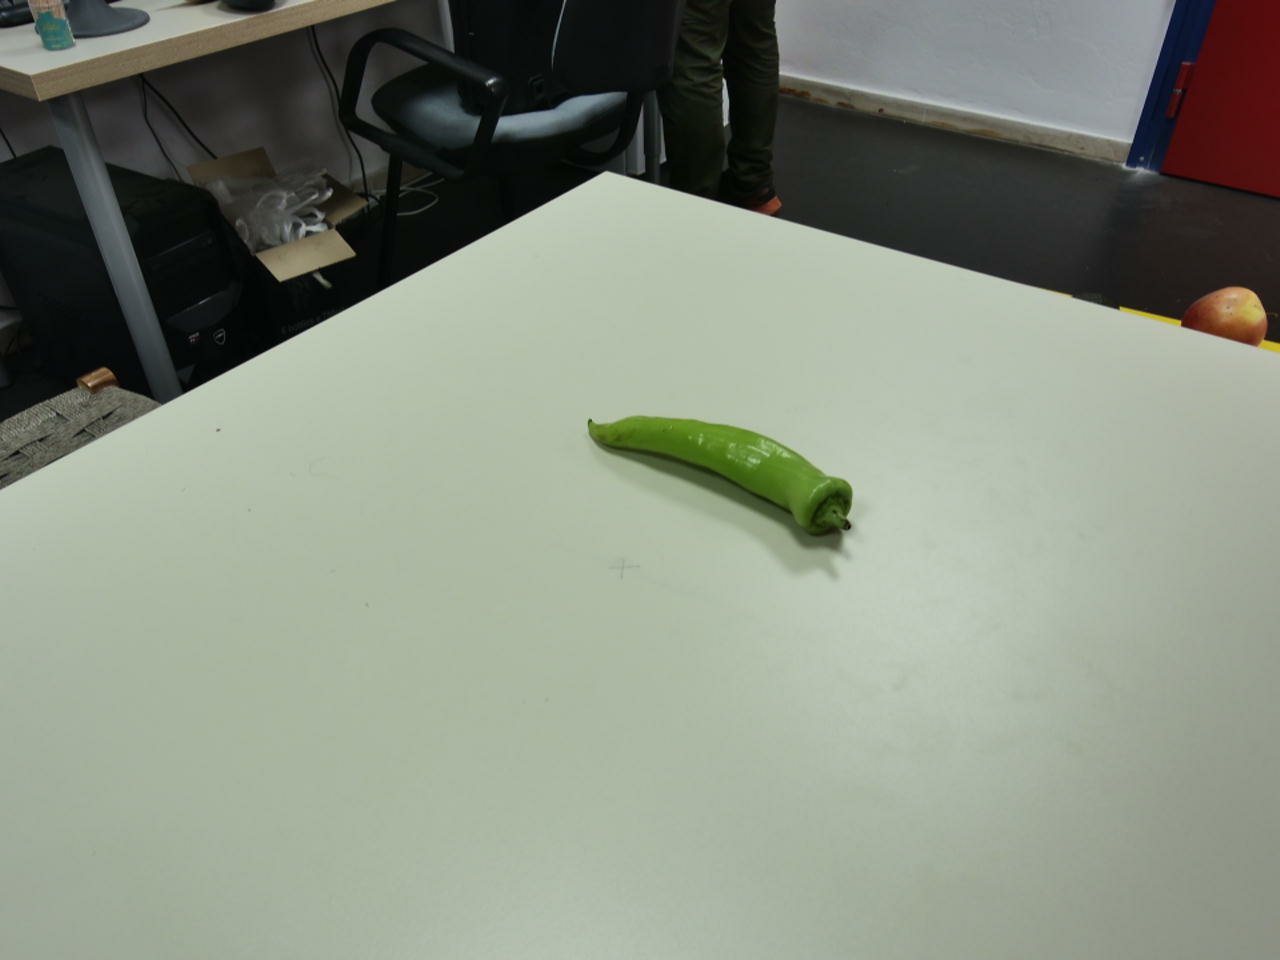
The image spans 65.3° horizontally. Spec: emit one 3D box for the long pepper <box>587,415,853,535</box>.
[{"bbox_3d":[0.048,-0.016,0.607,0.197,0.038,0.046,26,45,31],"label":"long pepper"}]
